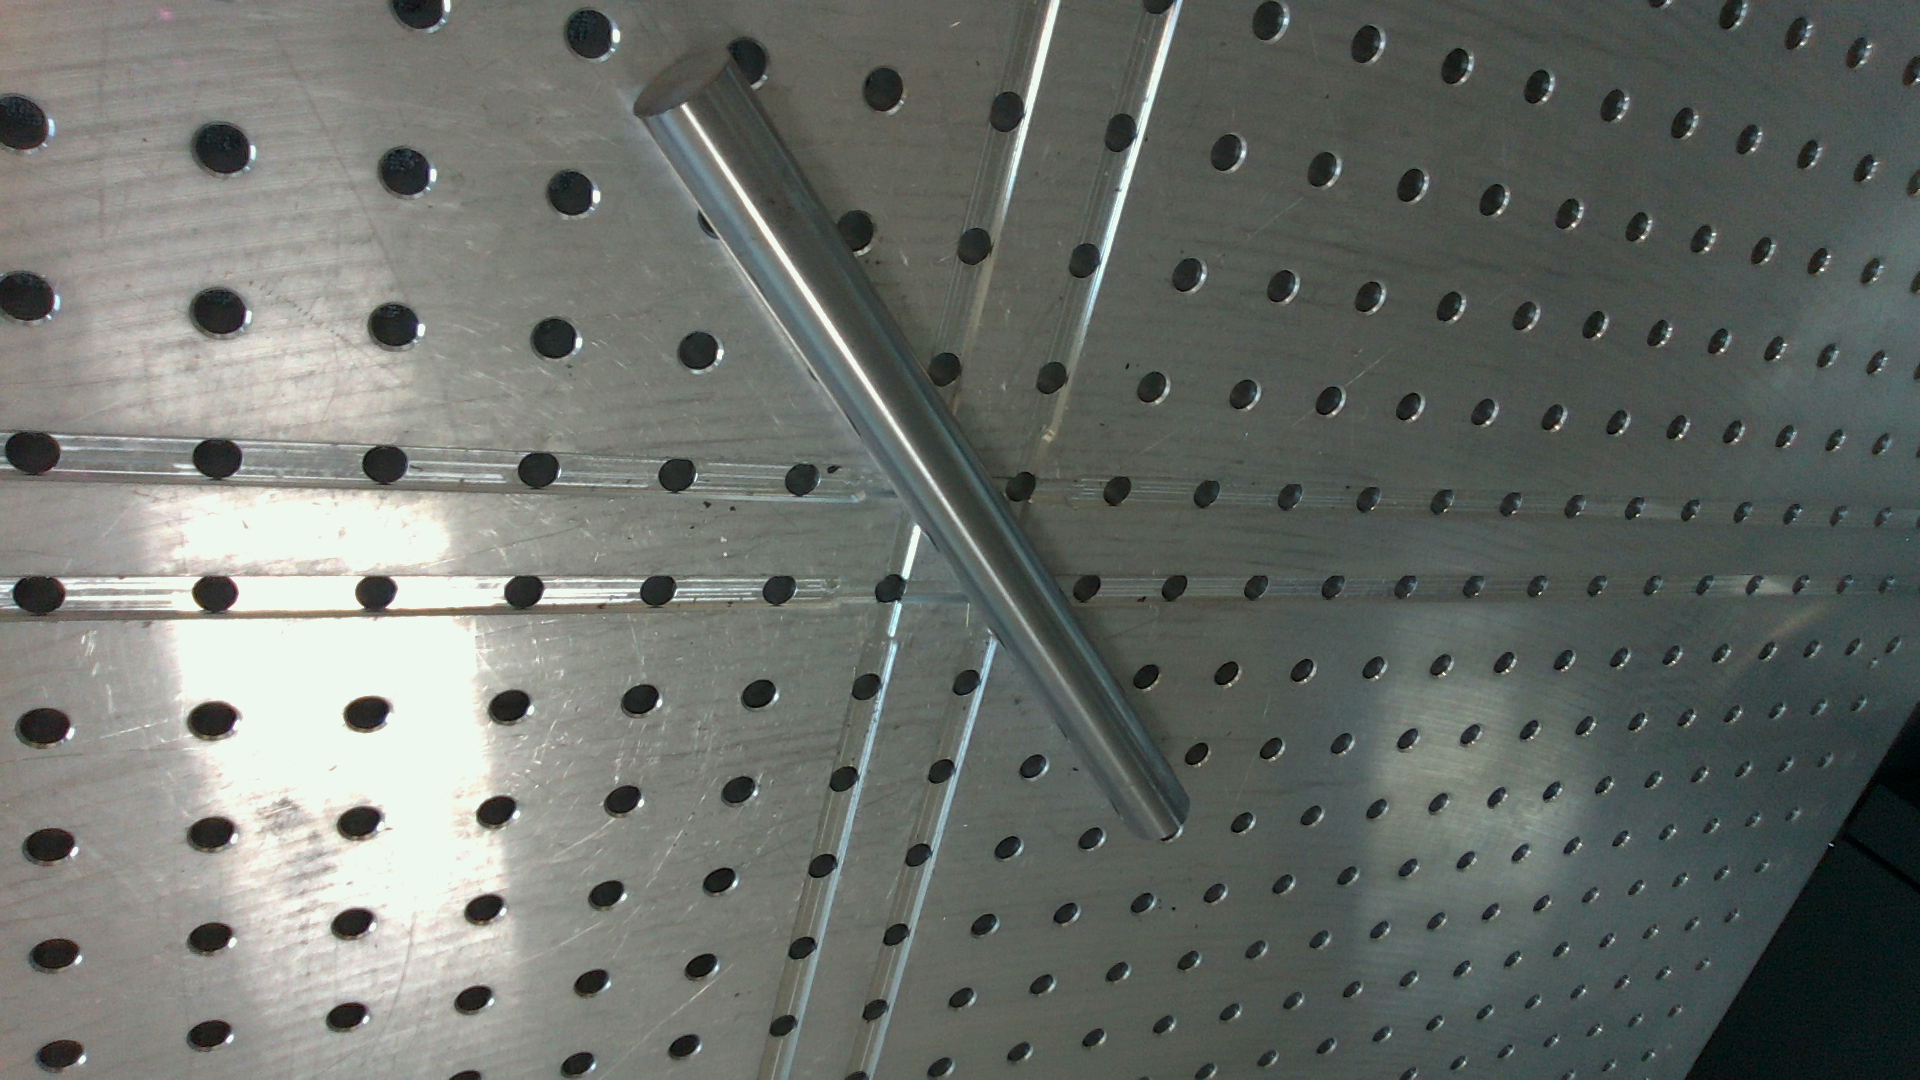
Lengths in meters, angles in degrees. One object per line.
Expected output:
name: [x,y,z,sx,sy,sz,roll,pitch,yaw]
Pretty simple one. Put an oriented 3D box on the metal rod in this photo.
metal rod: [0.003,-0.003,0.392,0.025,0.025,0.301,-37,129,-4]
